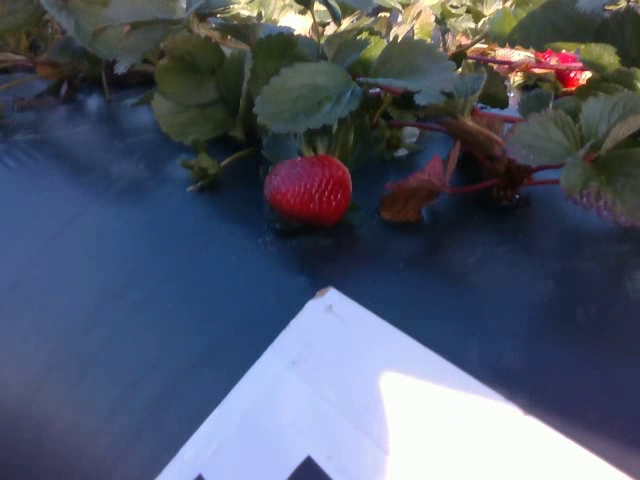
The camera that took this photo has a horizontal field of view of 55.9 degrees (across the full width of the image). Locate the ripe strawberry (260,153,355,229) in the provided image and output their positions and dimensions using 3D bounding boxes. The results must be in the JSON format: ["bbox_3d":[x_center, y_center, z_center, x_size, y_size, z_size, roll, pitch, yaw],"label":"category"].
[{"bbox_3d":[-0.009,-0.020,0.247,0.041,0.041,0.056,-26,1,22],"label":"ripe strawberry"}]
